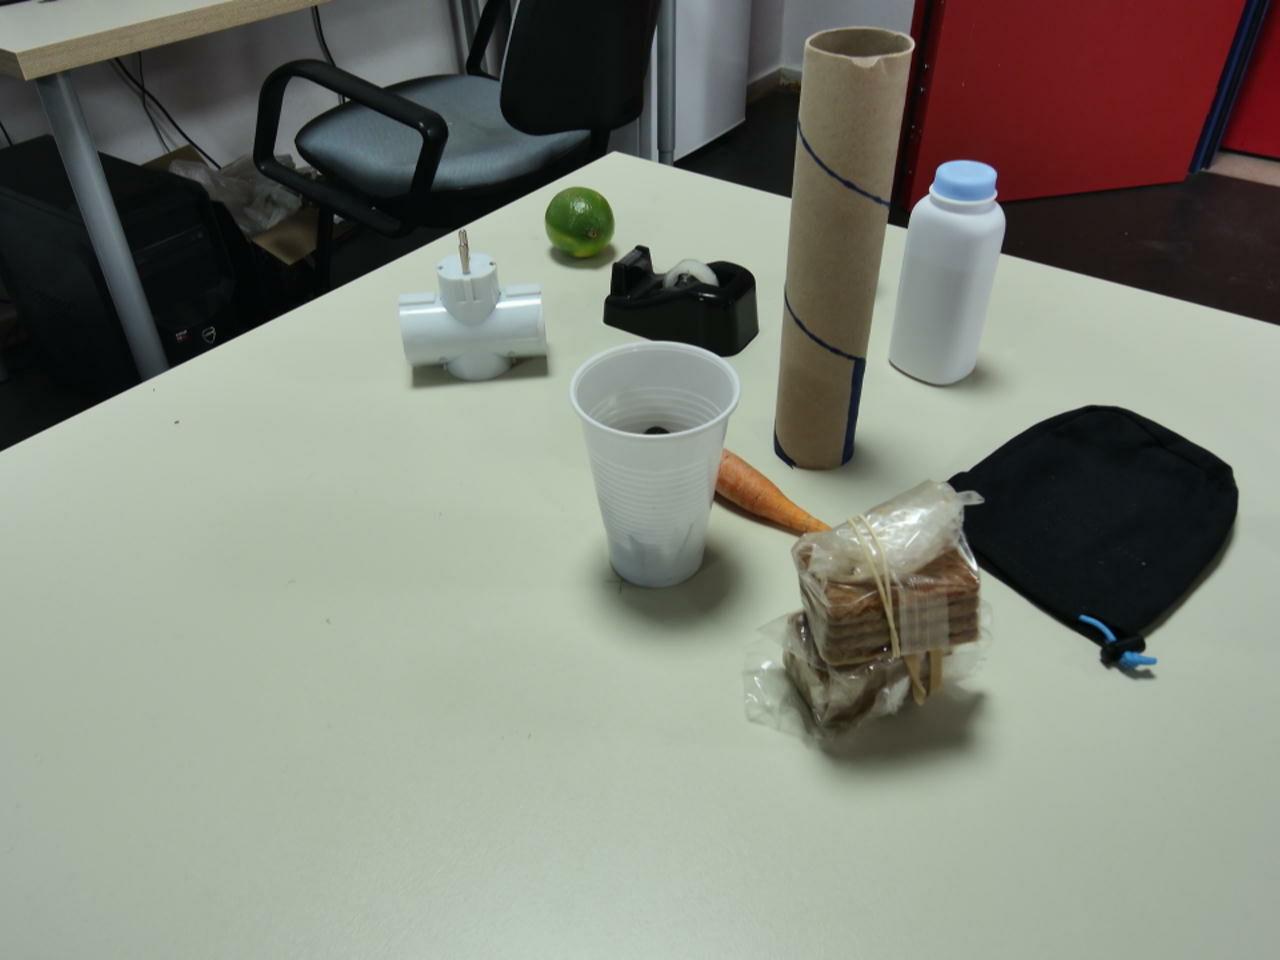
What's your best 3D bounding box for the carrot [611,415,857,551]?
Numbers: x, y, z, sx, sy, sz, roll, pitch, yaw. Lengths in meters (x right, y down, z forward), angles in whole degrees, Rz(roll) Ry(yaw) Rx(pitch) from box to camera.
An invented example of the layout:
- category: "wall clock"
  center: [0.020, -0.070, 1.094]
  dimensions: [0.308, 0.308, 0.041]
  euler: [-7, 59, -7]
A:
- category: "carrot"
  center: [0.049, -0.002, 0.549]
  dimensions: [0.163, 0.029, 0.031]
  euler: [25, 44, 29]
